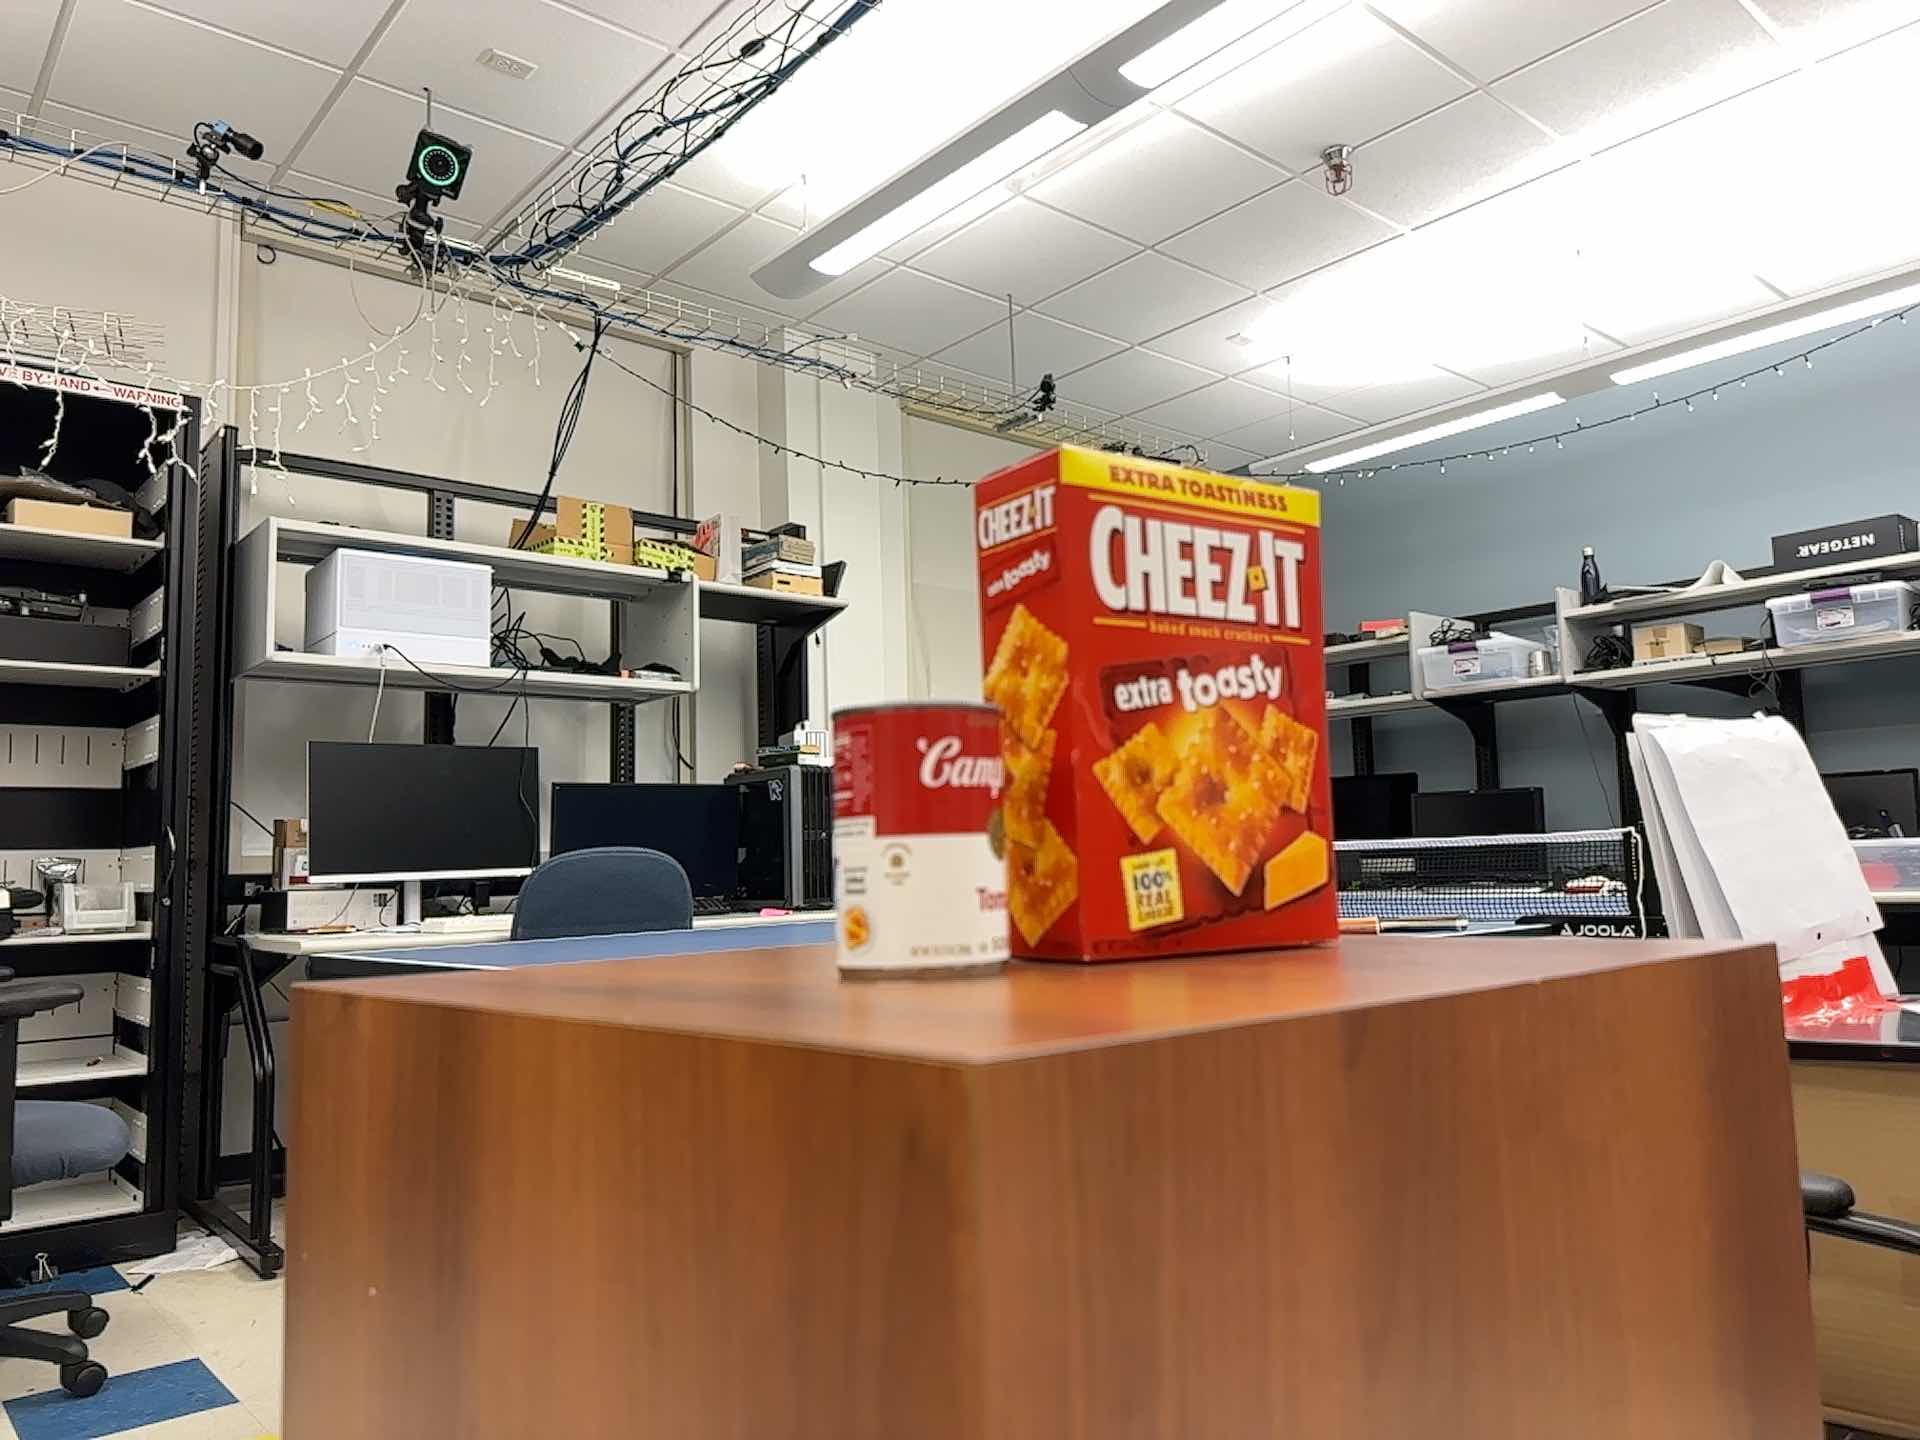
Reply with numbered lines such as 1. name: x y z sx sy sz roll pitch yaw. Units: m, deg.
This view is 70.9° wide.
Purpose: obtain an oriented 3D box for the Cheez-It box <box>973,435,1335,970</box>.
1. Cheez-It box: 0.091 -0.002 0.612 0.159 0.214 0.062 5 -9 -37

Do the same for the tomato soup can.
1. tomato soup can: -0.016 0.045 0.509 0.067 0.102 0.067 -1 -8 0
